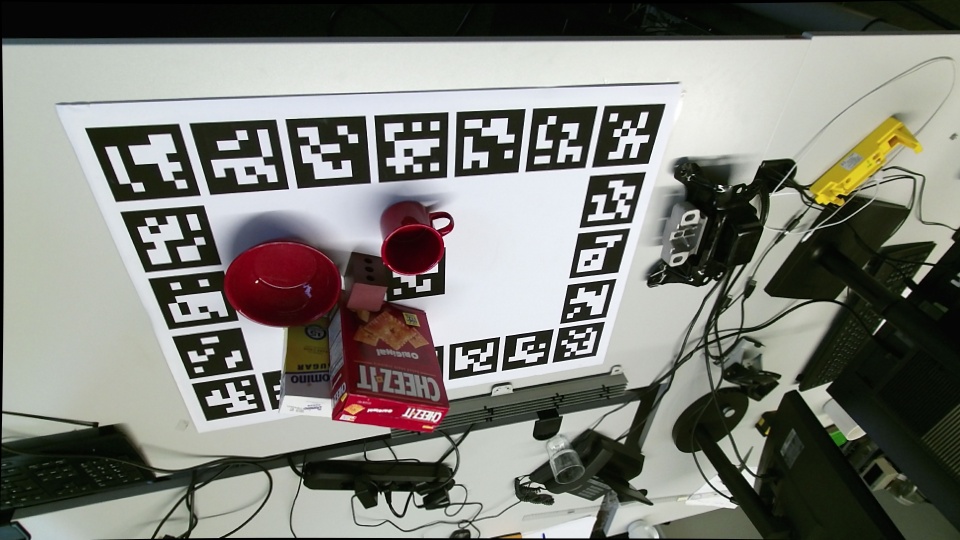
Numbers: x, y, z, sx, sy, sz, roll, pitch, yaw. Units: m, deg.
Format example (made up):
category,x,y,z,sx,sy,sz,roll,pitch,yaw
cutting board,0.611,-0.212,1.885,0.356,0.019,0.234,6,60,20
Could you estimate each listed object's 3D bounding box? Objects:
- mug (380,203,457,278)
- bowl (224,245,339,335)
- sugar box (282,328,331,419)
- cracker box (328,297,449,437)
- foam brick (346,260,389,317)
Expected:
category,x,y,z,sx,sy,sz,roll,pitch,yaw
mug,-0.091,-0.049,0.799,0.117,0.081,0.093,-15,137,-10
bowl,-0.294,0.020,0.790,0.162,0.055,0.162,-9,127,-12
sugar box,-0.262,0.163,0.845,0.093,0.175,0.045,12,121,-27
cracker box,-0.149,0.150,0.851,0.165,0.212,0.072,20,119,-30
foam brick,-0.178,0.029,0.842,0.053,0.078,0.051,6,124,-24
